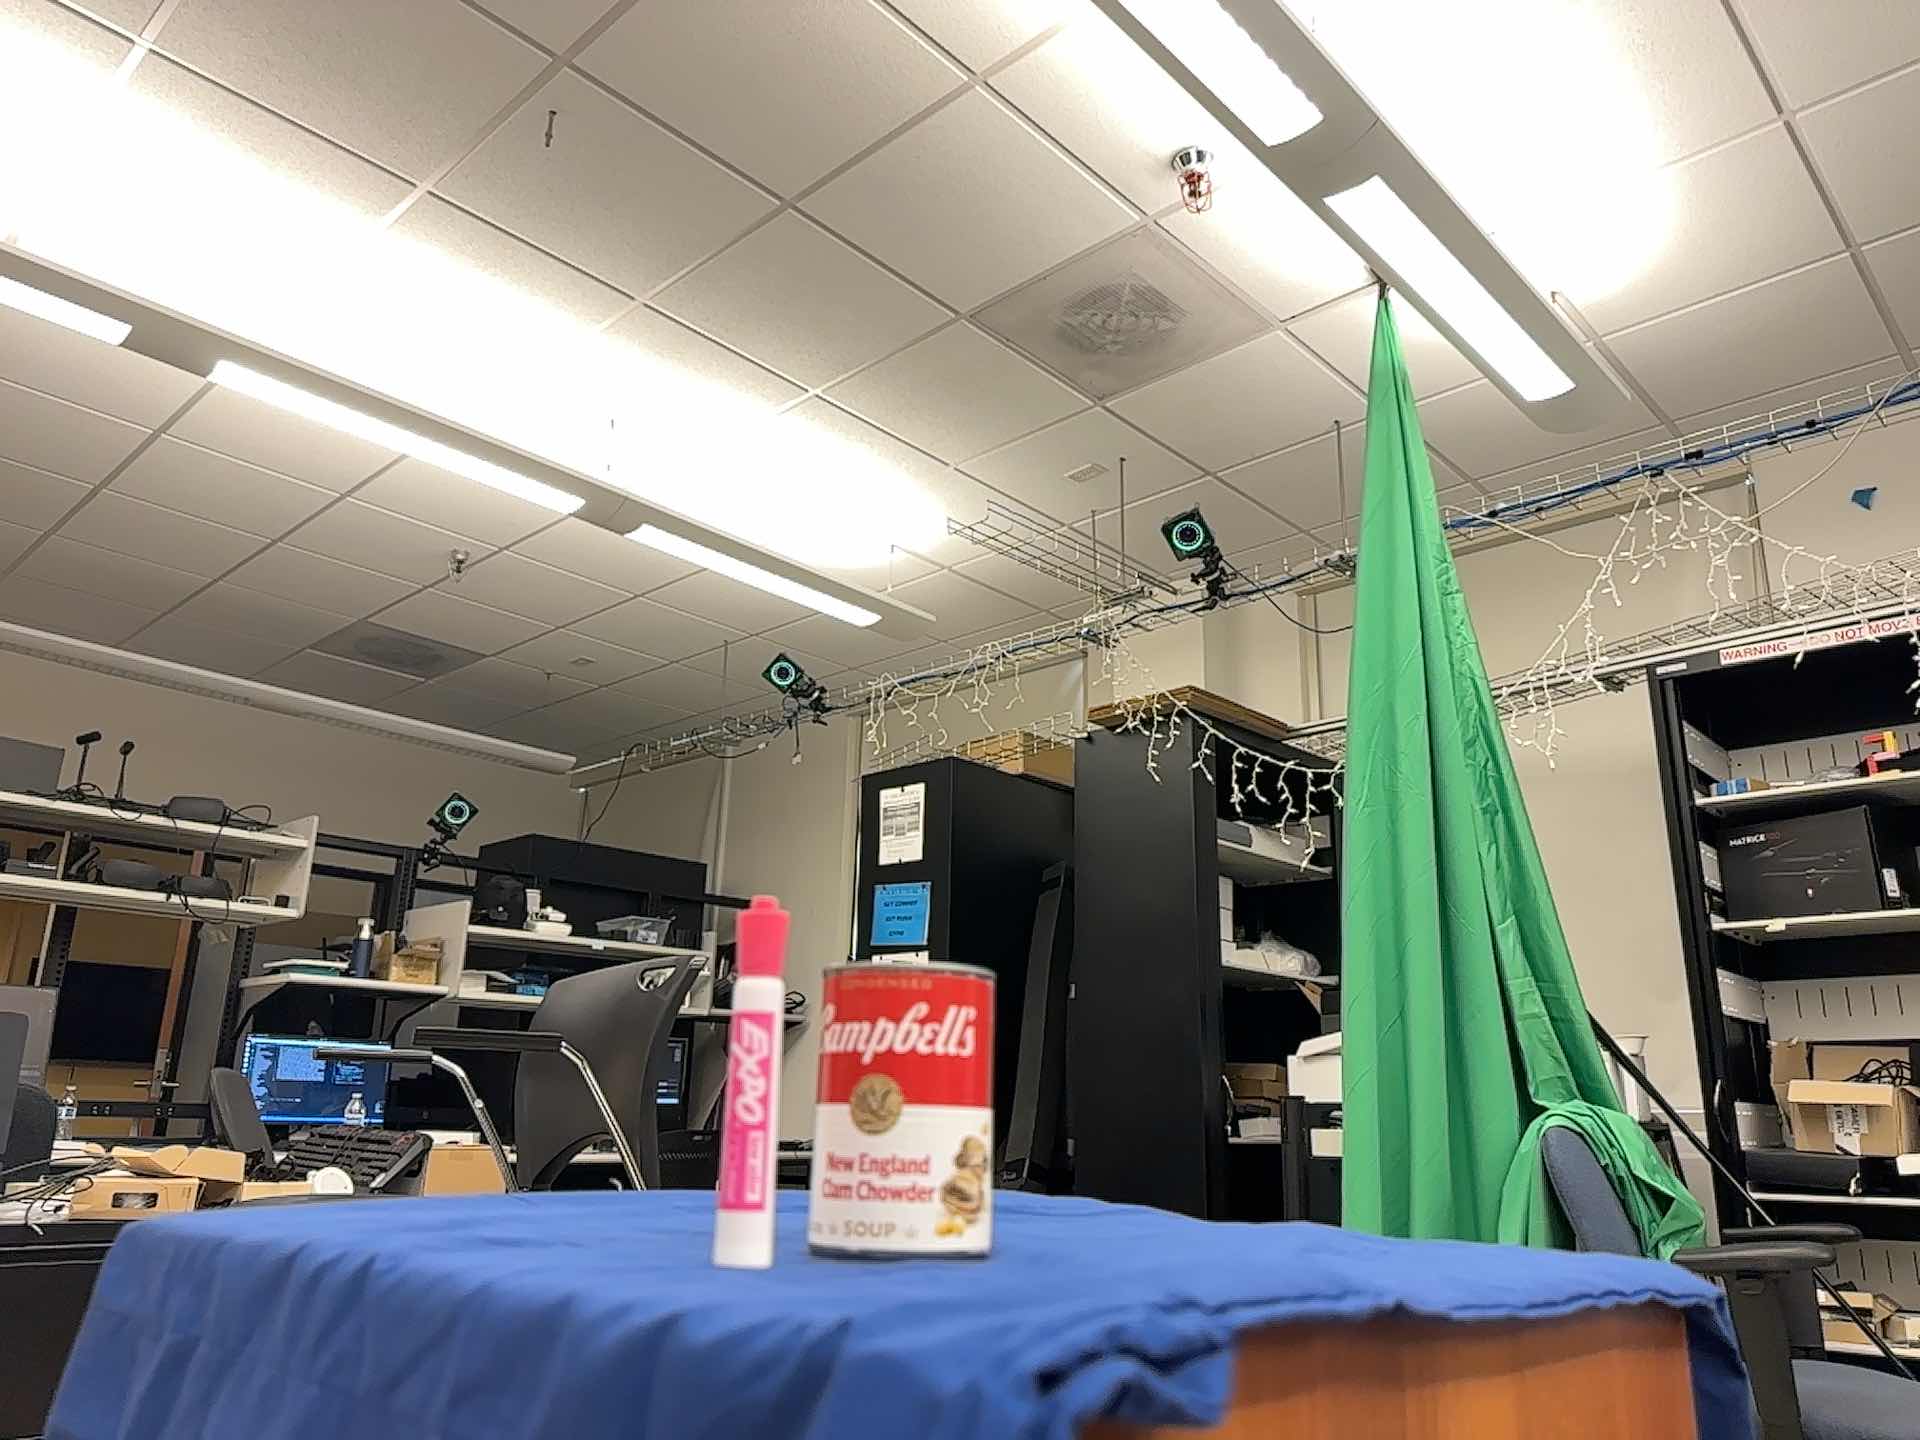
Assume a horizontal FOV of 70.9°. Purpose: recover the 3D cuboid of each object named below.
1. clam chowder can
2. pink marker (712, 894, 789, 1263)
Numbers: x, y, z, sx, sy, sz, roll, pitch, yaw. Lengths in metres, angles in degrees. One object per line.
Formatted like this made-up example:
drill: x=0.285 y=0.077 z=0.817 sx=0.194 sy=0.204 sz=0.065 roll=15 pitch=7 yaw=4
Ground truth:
clam chowder can: x=-0.022 y=0.143 z=0.508 sx=0.068 sy=0.102 sz=0.068 roll=1 pitch=-14 yaw=0
pink marker: x=-0.072 y=0.121 z=0.463 sx=0.020 sy=0.121 sz=0.020 roll=1 pitch=-14 yaw=0
